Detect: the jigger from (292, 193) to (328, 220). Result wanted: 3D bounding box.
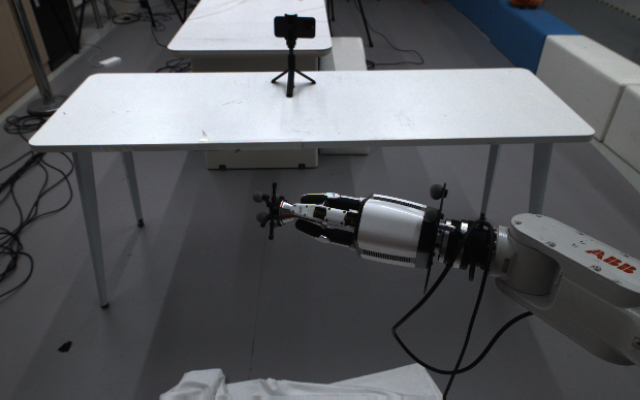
[{"bbox_3d":[-0.016,0.015,0.733,0.071,0.043,0.043,2,34,16],"label":"jigger"}]
